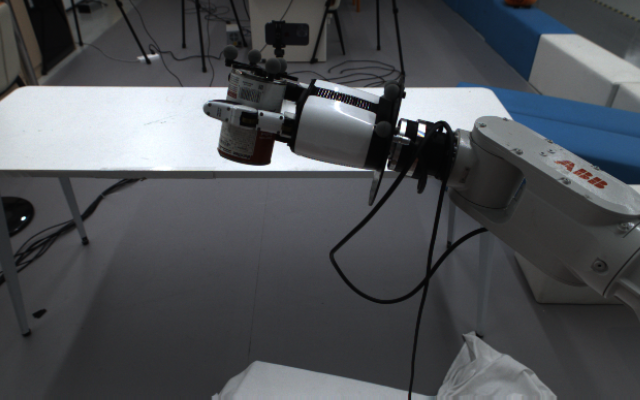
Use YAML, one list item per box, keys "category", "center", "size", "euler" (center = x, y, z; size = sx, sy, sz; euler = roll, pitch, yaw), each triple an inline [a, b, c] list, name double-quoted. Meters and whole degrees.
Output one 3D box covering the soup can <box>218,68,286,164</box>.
- category: "soup can"
  center: [-0.081, -0.099, 0.582]
  size: [0.067, 0.101, 0.067]
  euler: [13, 18, -4]
